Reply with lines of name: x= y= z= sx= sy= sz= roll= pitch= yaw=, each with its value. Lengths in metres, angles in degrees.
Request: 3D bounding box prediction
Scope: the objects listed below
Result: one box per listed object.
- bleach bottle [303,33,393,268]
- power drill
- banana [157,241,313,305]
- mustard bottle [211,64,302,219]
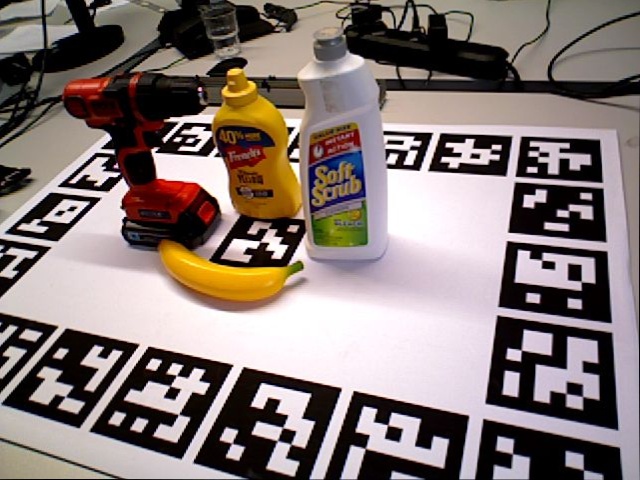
bleach bottle: x=0.022 y=-0.081 z=0.559 sx=0.103 sy=0.255 sz=0.066 roll=1 pitch=43 yaw=12
power drill: x=-0.197 y=-0.100 z=0.635 sx=0.185 sy=0.191 sz=0.056 roll=6 pitch=37 yaw=15
banana: x=-0.109 y=0.035 z=0.608 sx=0.198 sy=0.039 sz=0.072 roll=7 pitch=49 yaw=23
mustard bottle: x=-0.081 y=-0.116 z=0.654 sx=0.096 sy=0.195 sz=0.057 roll=8 pitch=44 yaw=18
